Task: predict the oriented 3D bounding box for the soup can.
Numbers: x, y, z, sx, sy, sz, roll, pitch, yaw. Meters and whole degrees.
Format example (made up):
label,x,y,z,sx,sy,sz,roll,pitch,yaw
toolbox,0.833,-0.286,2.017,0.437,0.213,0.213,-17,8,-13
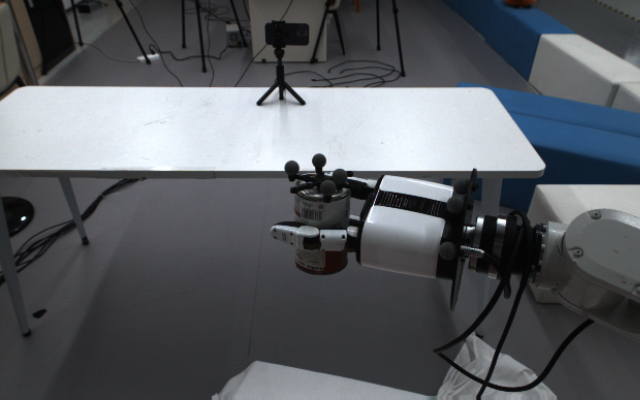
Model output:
label,x,y,z,sx,sy,sz,roll,pitch,yaw
soup can,0.004,0.030,0.581,0.067,0.101,0.067,1,25,0
